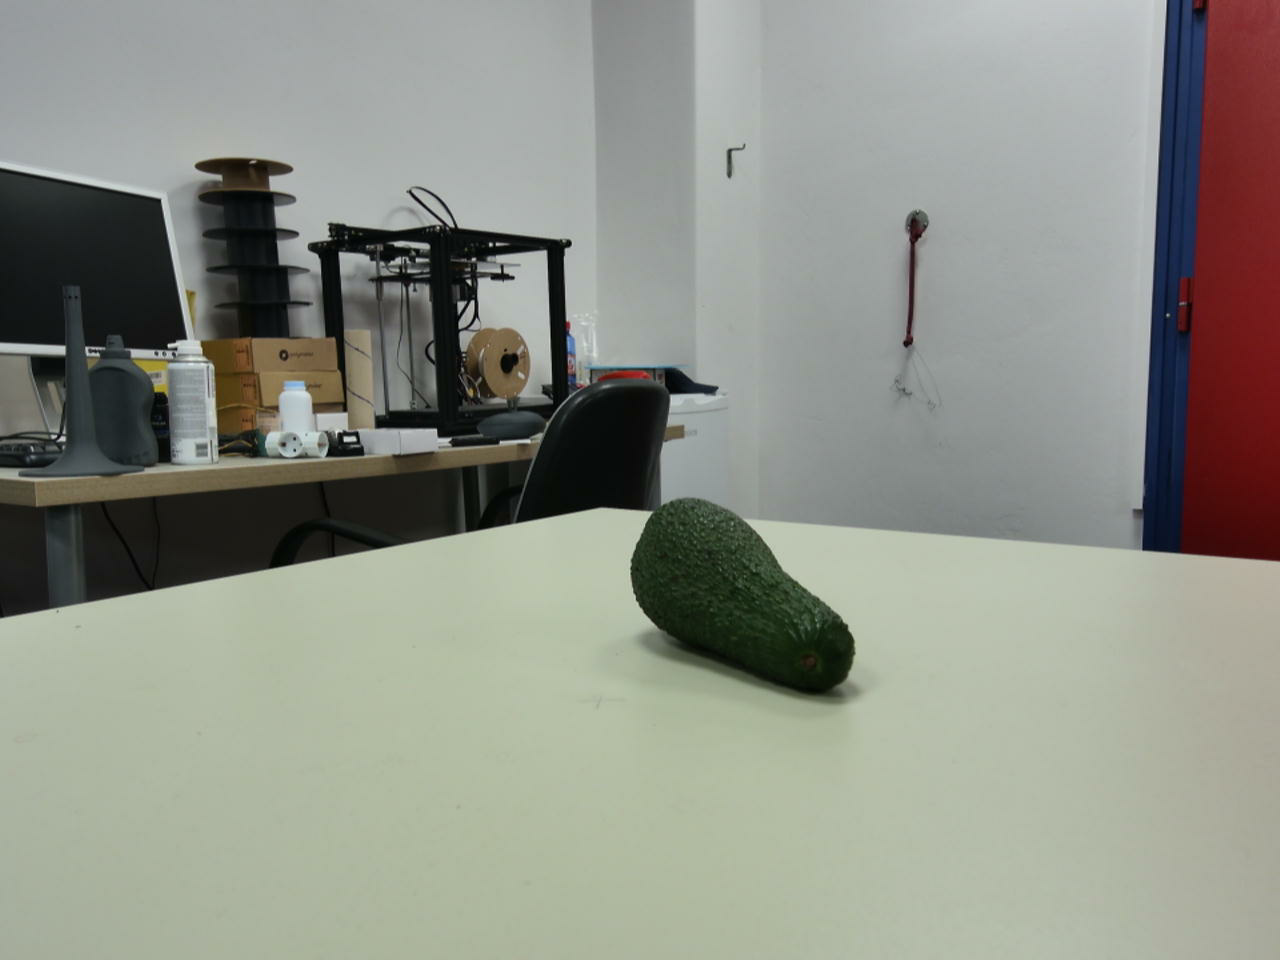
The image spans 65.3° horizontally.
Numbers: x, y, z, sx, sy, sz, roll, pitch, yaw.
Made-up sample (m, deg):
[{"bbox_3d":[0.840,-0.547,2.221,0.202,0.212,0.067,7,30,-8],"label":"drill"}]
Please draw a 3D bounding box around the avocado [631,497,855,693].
[{"bbox_3d":[0.046,0.044,0.434,0.063,0.067,0.141,-2,4,-37],"label":"avocado"}]
